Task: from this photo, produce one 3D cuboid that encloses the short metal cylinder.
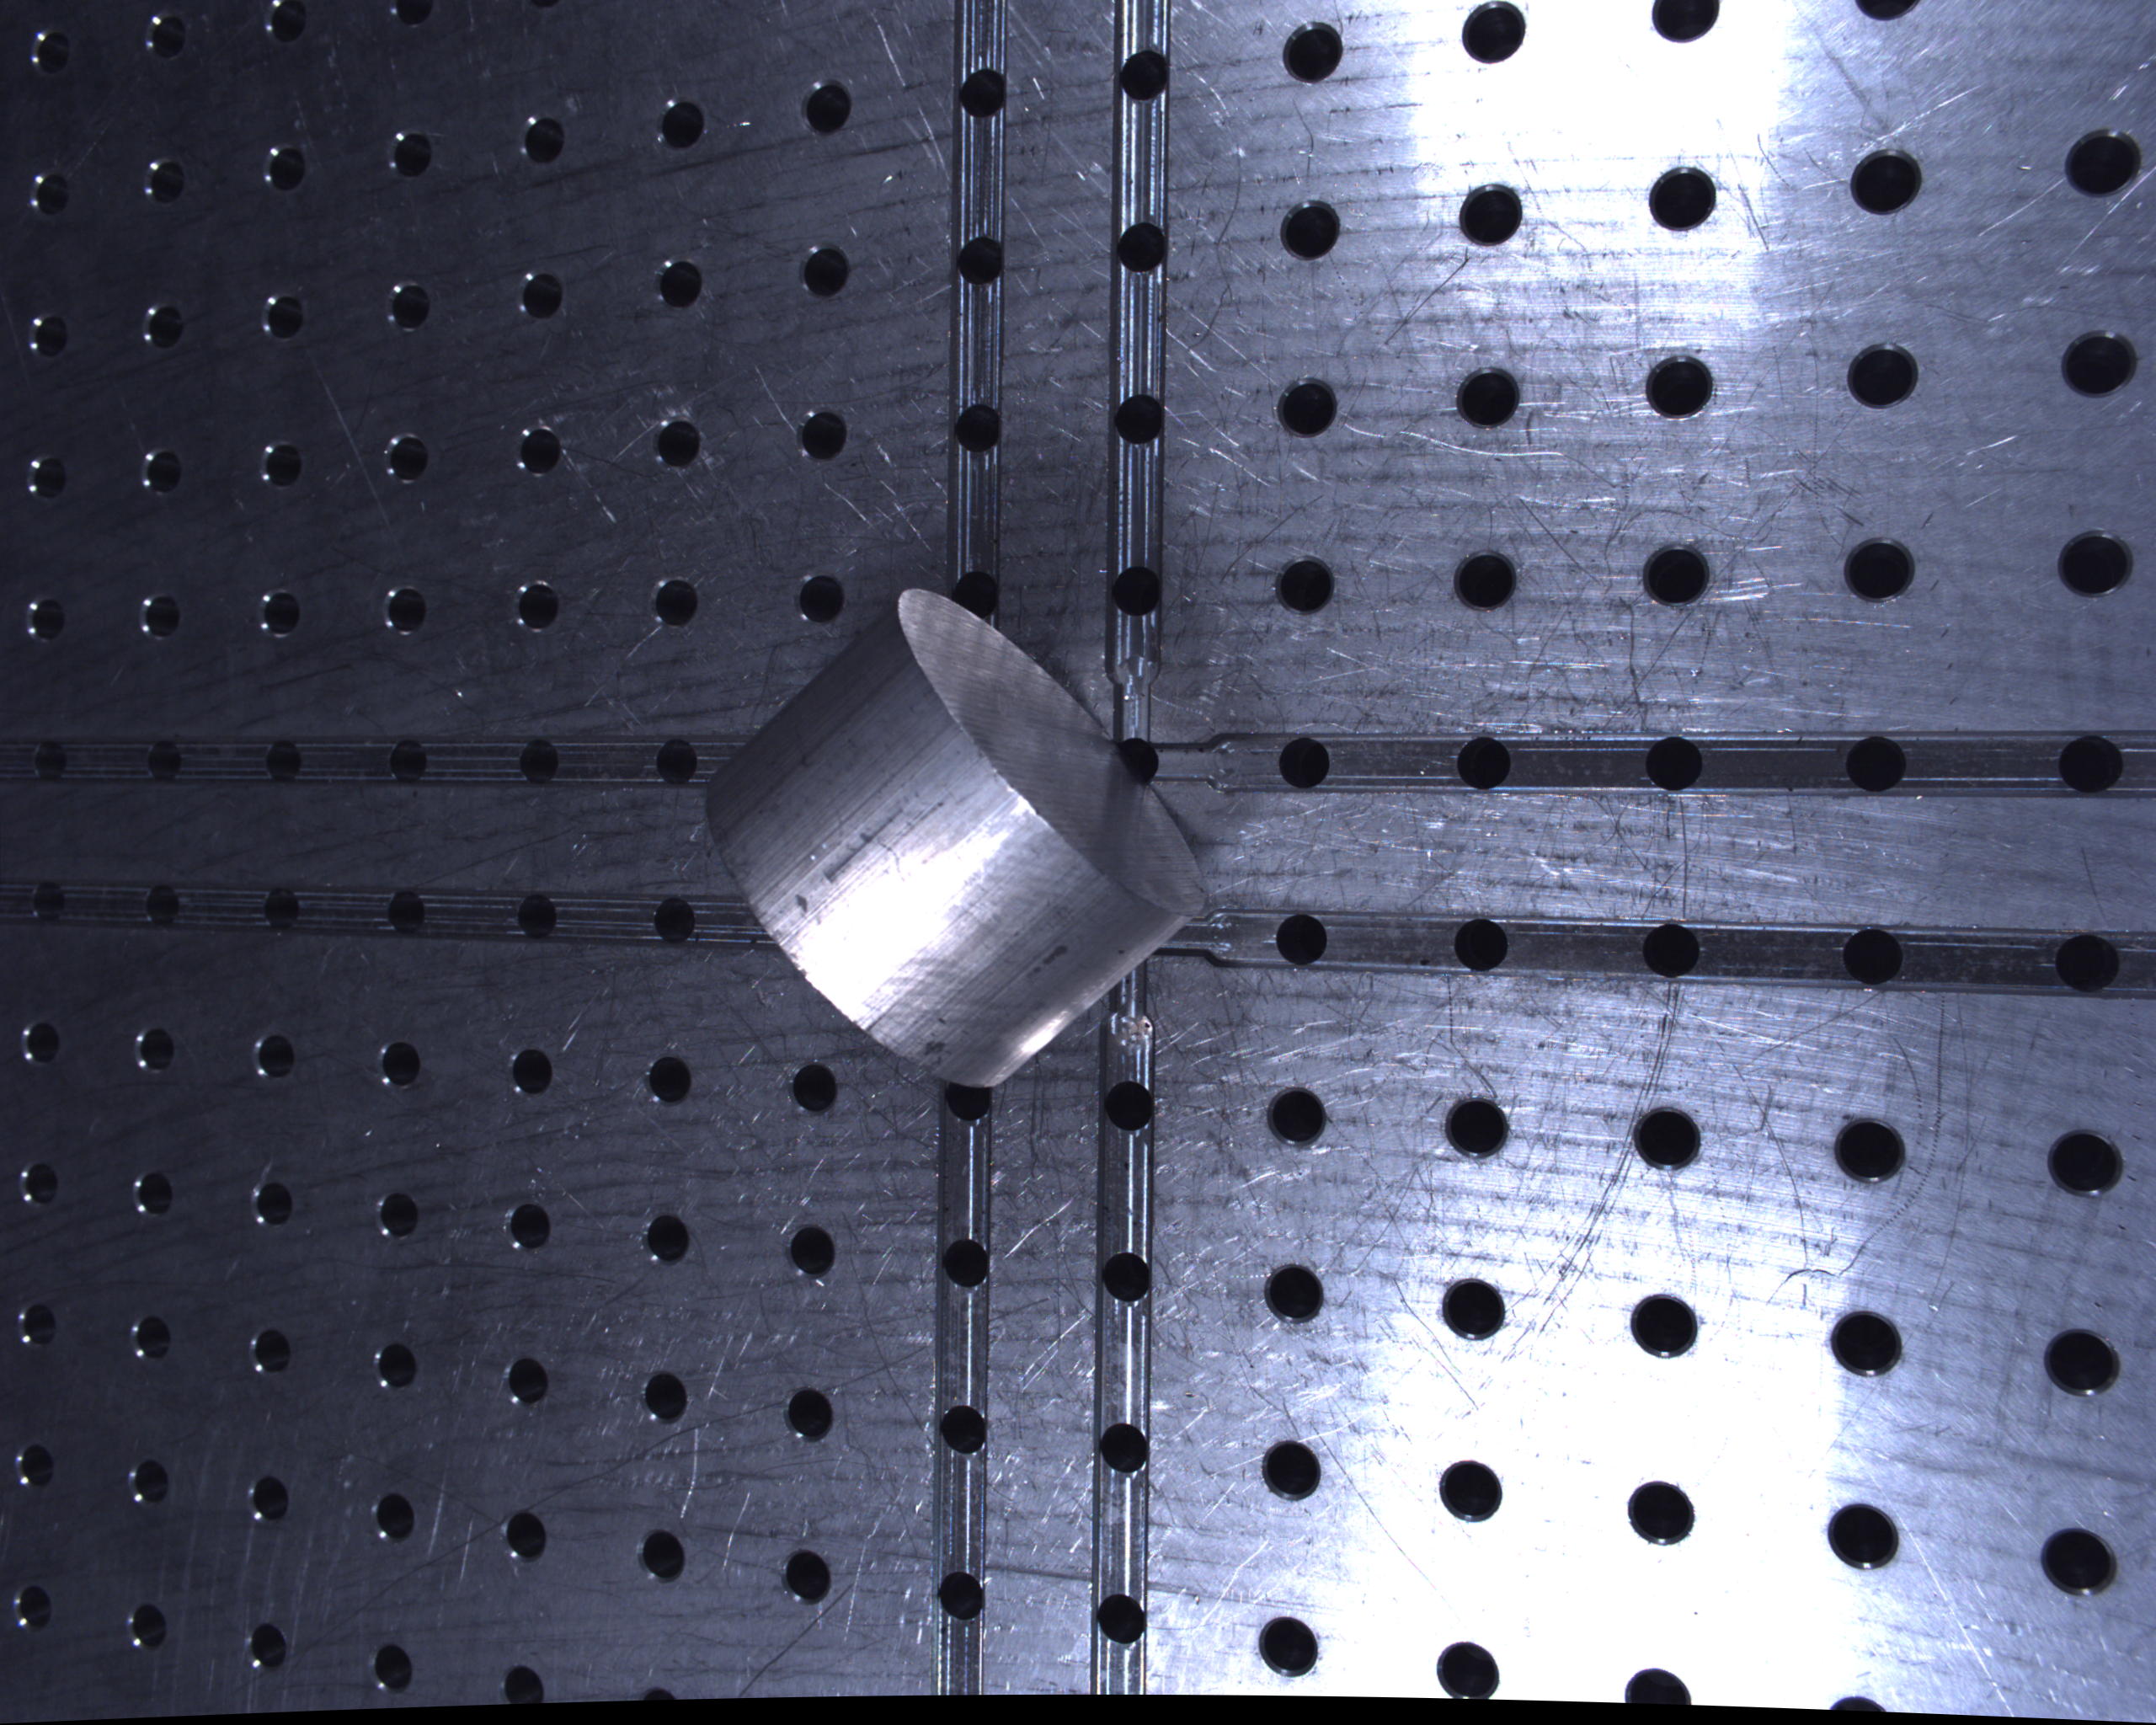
[{"bbox_3d":[-0.022,-0.005,0.389,0.050,0.080,0.080,-42,77,15],"label":"short metal cylinder"}]
